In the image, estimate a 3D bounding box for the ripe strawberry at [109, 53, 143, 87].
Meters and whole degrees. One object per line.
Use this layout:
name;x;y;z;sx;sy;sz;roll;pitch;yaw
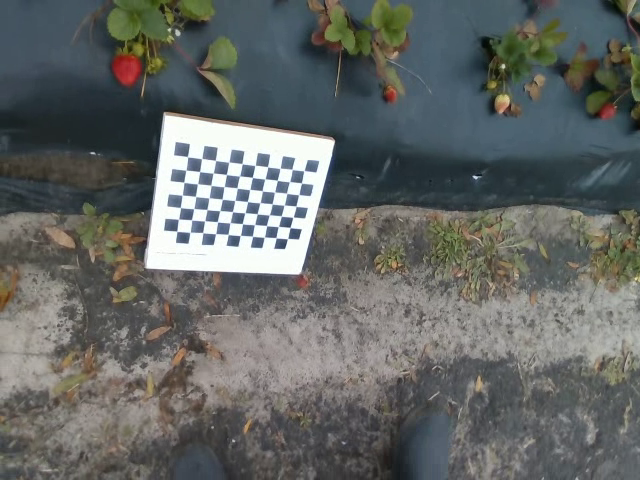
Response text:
ripe strawberry;-0.086;-0.080;0.505;0.018;0.017;0.014;8;-24;-34
